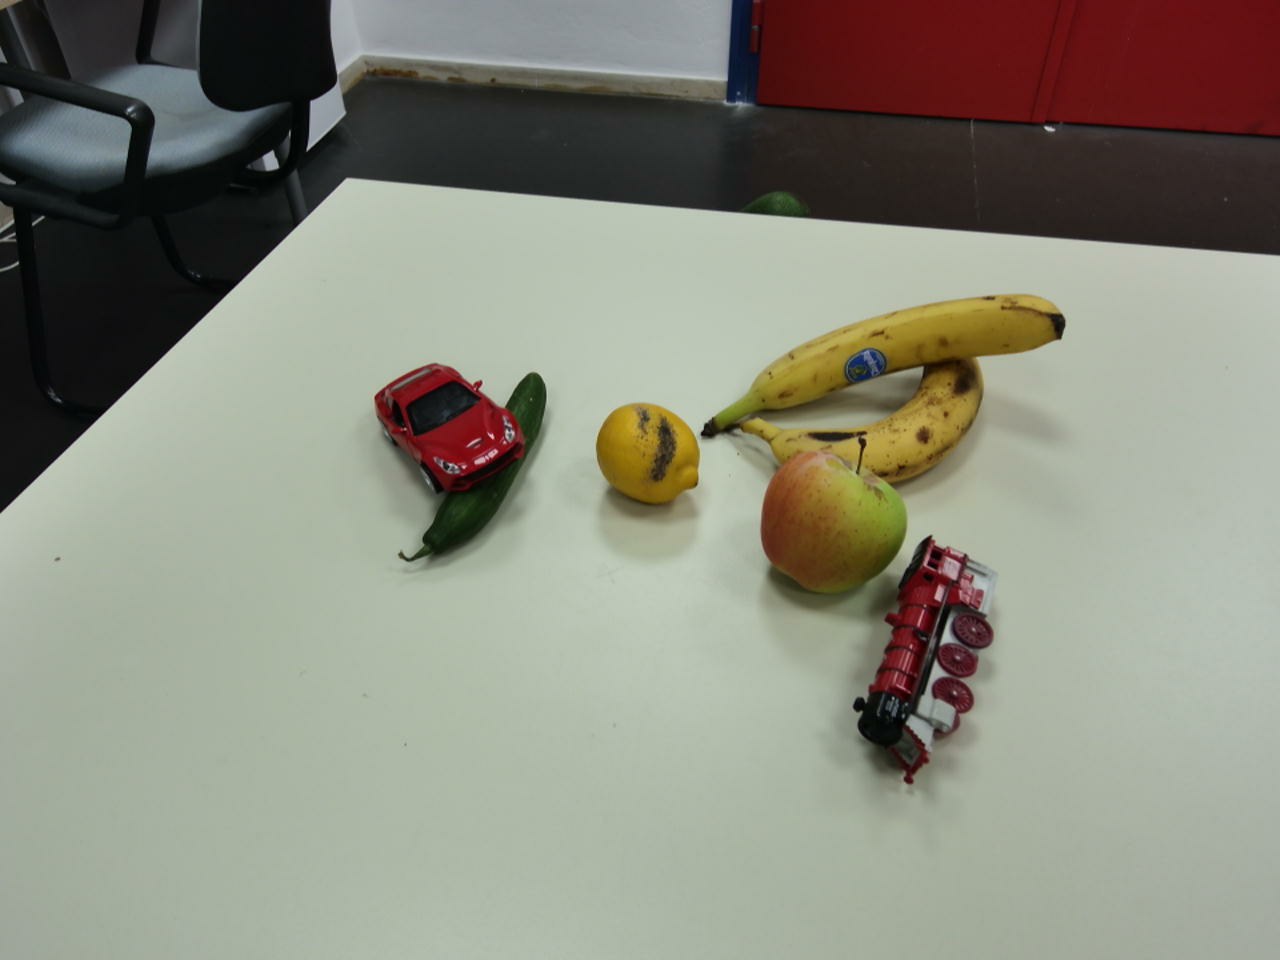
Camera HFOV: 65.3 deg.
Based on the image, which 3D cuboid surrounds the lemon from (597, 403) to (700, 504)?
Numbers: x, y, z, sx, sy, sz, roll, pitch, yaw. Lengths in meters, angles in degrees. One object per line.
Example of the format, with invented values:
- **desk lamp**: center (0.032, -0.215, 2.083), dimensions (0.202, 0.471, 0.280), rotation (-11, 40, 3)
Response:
- **lemon**: center (0.005, -0.016, 0.588), dimensions (0.061, 0.056, 0.058), rotation (4, 39, 4)
